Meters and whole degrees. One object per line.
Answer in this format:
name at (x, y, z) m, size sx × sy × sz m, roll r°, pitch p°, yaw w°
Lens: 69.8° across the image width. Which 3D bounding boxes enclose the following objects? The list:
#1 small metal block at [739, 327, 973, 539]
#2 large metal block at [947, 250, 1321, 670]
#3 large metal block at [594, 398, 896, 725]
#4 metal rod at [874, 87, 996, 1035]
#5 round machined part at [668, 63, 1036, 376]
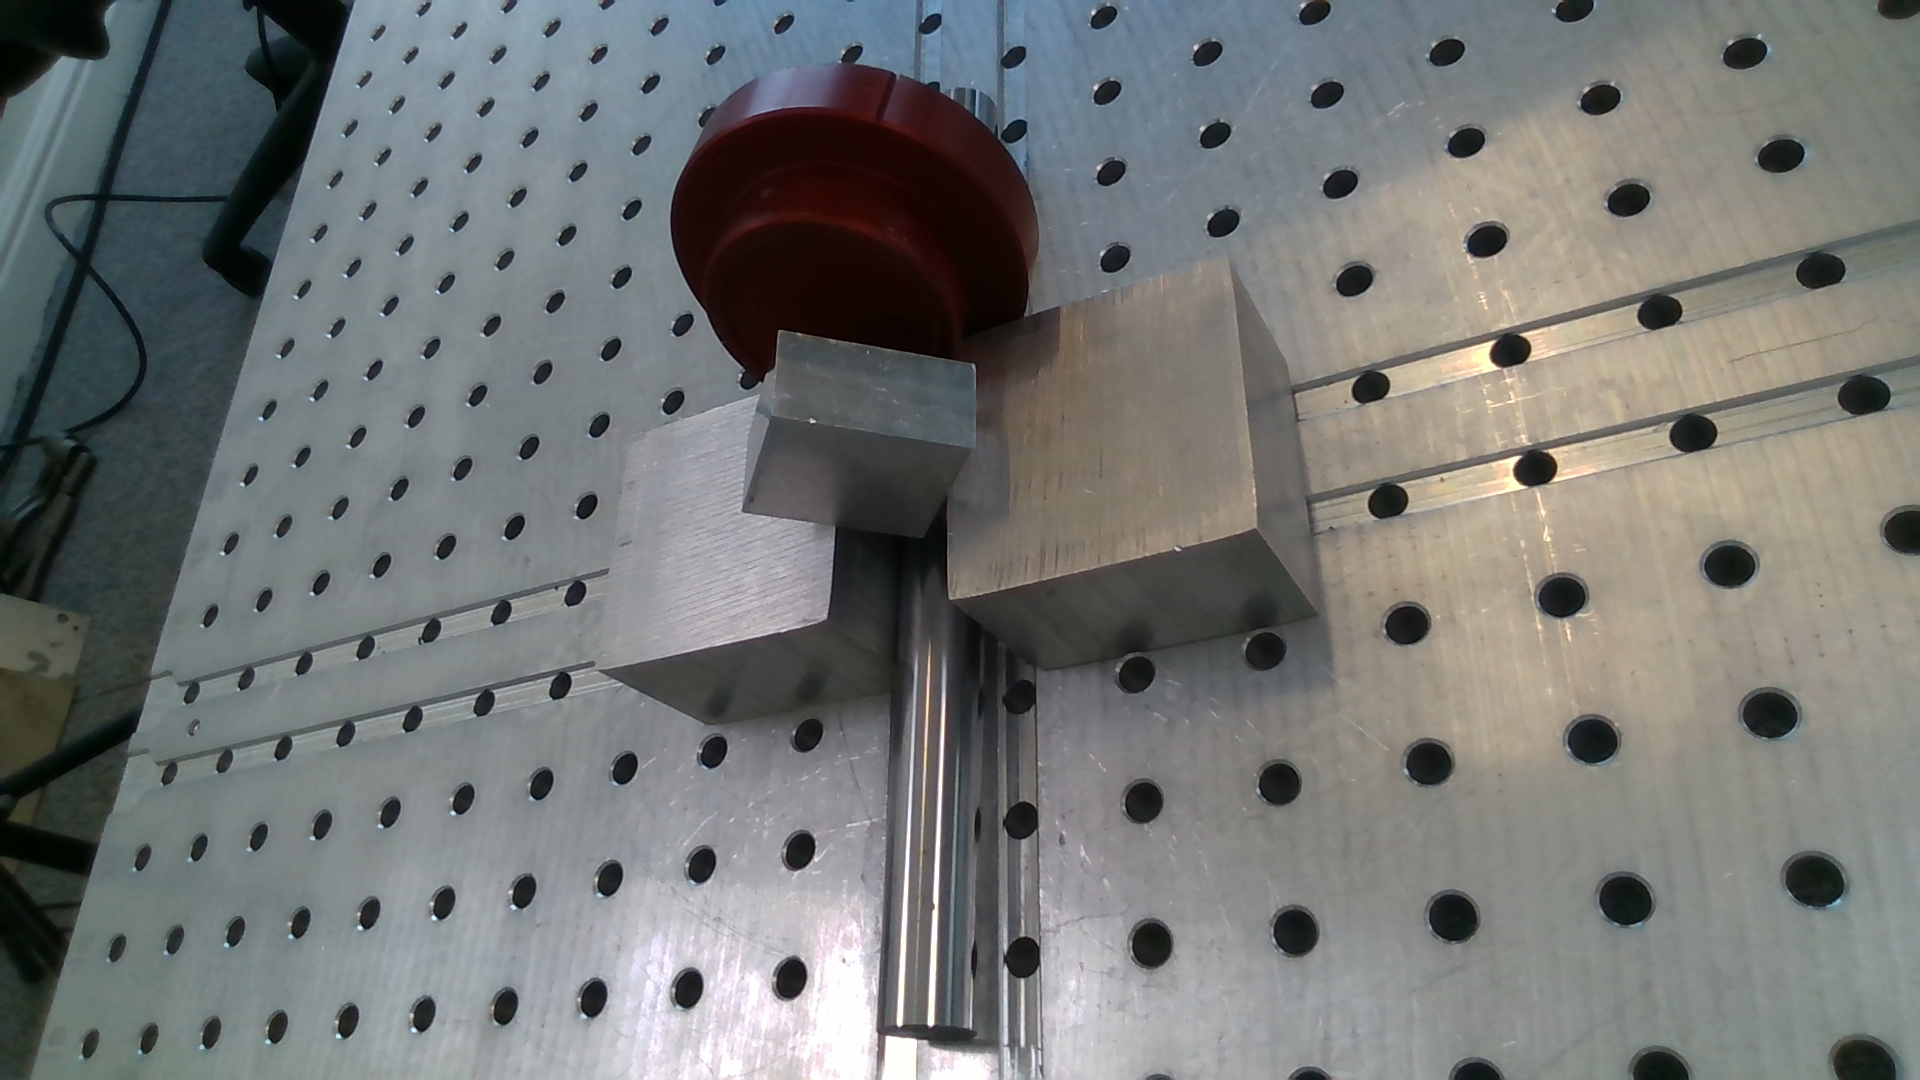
small metal block at (-0.028, -0.026, 0.354) m, size 0.050 × 0.050 × 0.025 m, roll 8°, pitch 61°, yaw -13°
large metal block at (0.044, -0.018, 0.362) m, size 0.080 × 0.050 × 0.080 m, roll -14°, pitch 59°, yaw 25°
large metal block at (-0.057, 0.005, 0.413) m, size 0.080 × 0.050 × 0.080 m, roll -13°, pitch 59°, yaw 26°
metal rod at (-0.004, -0.013, 0.405) m, size 0.025 × 0.025 × 0.299 m, roll -12°, pitch 60°, yaw 26°
round machined part at (-0.031, -0.073, 0.369) m, size 0.098 × 0.098 × 0.042 m, roll -10°, pitch 46°, yaw 27°
